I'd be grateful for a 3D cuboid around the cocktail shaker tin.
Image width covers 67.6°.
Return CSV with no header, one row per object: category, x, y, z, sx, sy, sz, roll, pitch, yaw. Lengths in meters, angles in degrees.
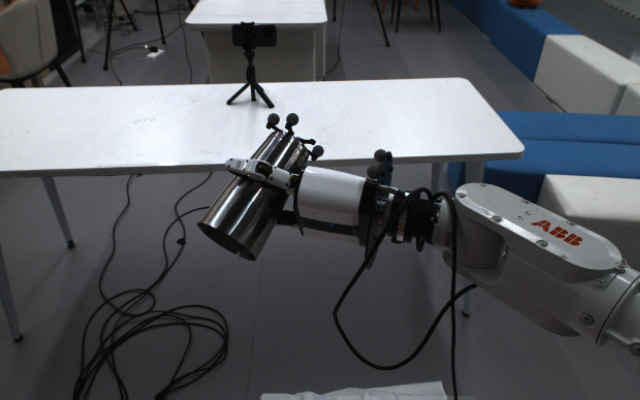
cocktail shaker tin,-0.083,-0.015,0.674,0.093,0.093,0.170,20,67,24
